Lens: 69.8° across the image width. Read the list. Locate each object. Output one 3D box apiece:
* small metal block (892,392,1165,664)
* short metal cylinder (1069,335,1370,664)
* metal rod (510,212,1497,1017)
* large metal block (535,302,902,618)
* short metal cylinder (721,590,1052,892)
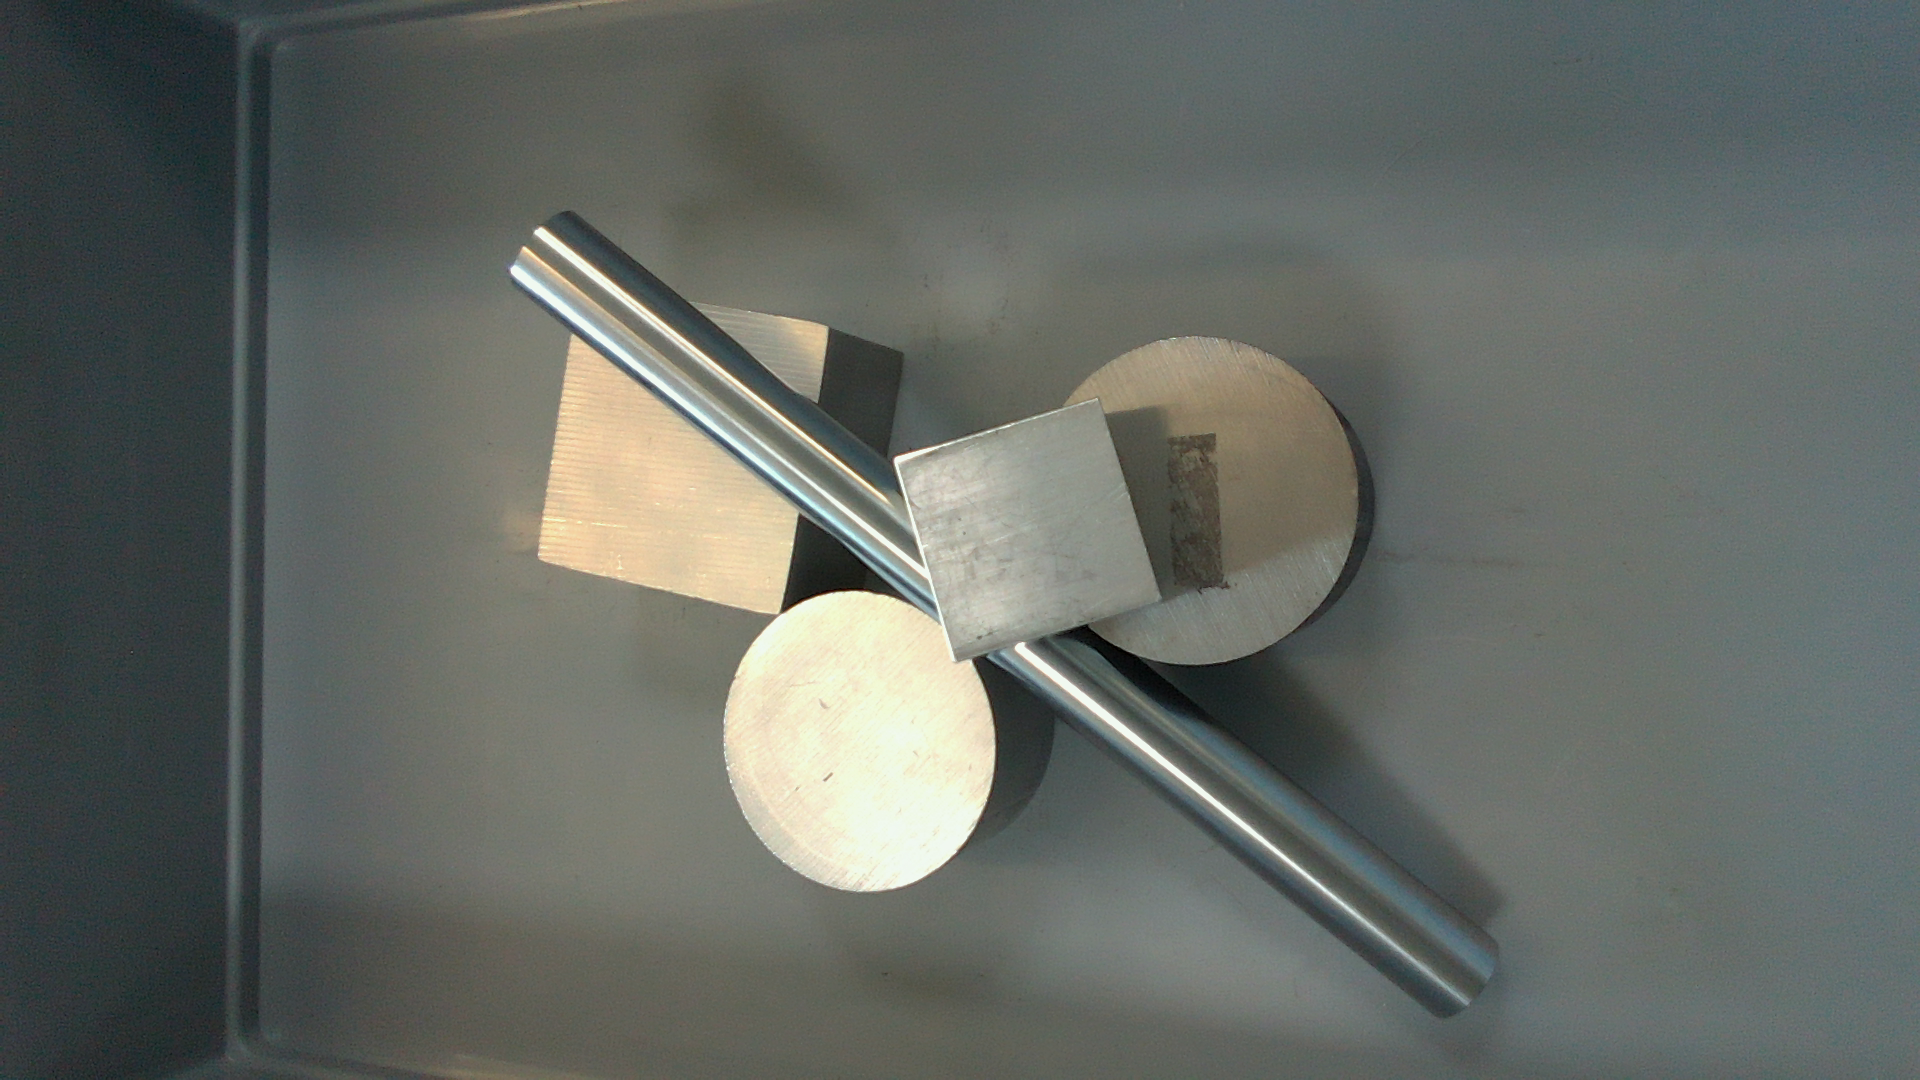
[{"bbox_3d":[0.016,-0.002,0.328,0.050,0.025,0.050,-17,84,1],"label":"small metal block"},{"bbox_3d":[0.065,-0.010,0.358,0.080,0.050,0.080,0,90,20],"label":"short metal cylinder"},{"bbox_3d":[0.010,0.018,0.354,0.300,0.025,0.025,38,103,1],"label":"metal rod"},{"bbox_3d":[-0.070,-0.026,0.405,0.080,0.050,0.080,12,94,20],"label":"large metal block"},{"bbox_3d":[-0.020,0.053,0.388,0.080,0.050,0.080,0,90,20],"label":"short metal cylinder"}]
